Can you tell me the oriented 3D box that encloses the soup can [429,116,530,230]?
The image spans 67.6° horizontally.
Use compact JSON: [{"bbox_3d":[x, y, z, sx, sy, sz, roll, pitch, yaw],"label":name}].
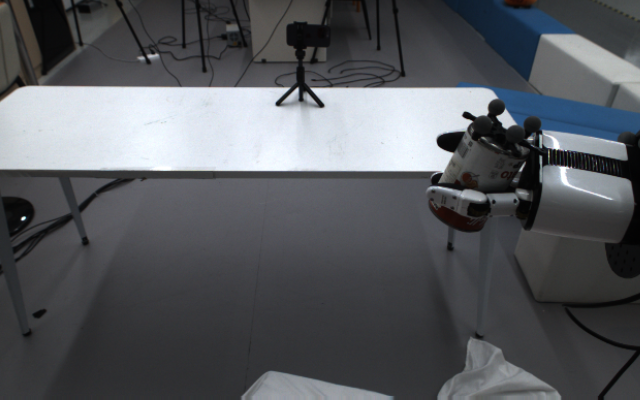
[{"bbox_3d":[0.170,-0.025,0.521,0.067,0.101,0.067,14,35,-10],"label":"soup can"}]
